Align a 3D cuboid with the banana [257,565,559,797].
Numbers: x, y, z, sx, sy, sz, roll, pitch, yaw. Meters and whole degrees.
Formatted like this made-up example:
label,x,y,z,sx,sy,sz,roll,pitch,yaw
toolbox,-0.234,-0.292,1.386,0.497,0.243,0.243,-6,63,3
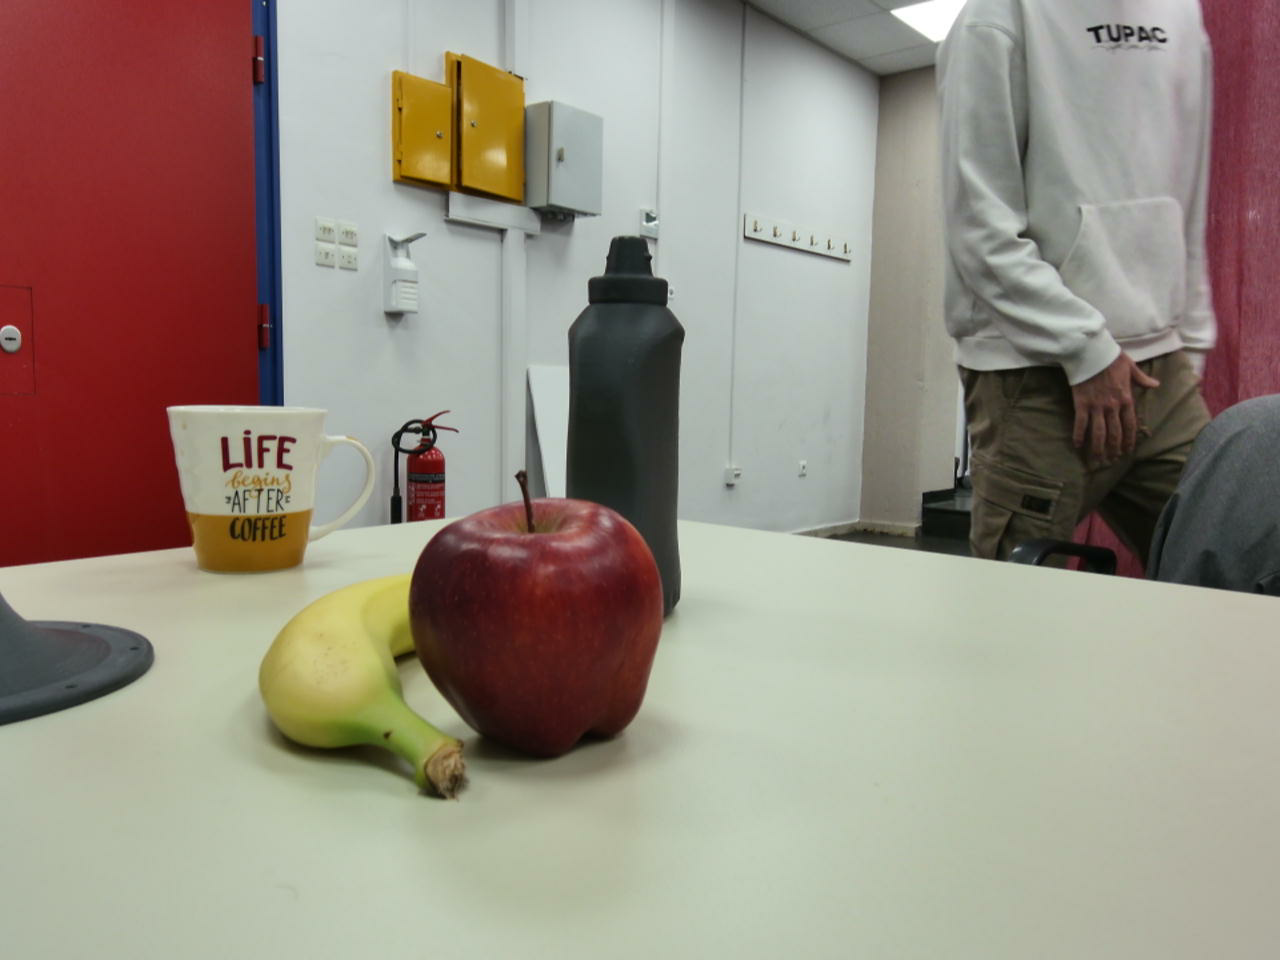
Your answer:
label,x,y,z,sx,sy,sz,roll,pitch,yaw
banana,-0.092,0.063,0.385,0.094,0.041,0.196,1,4,4
